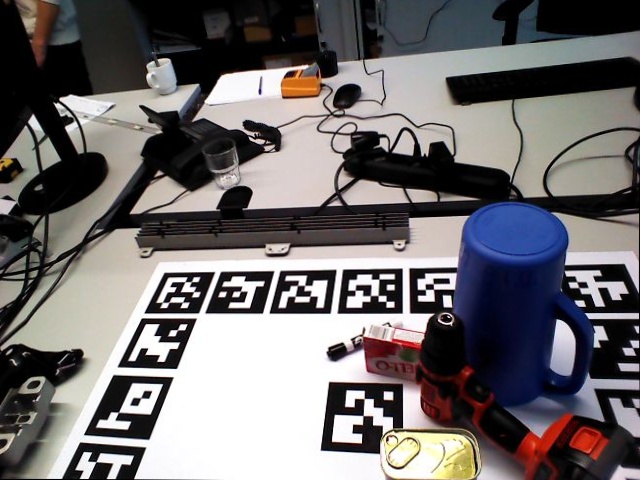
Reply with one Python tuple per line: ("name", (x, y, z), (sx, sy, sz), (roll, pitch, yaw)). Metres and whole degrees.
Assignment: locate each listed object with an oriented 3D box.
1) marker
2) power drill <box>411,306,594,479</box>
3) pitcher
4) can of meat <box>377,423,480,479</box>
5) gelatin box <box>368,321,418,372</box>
("marker", (0.070, 0.129, 0.755), (0.121, 0.020, 0.019), (-20, 41, -7))
("power drill", (0.184, 0.165, 0.559), (0.187, 0.185, 0.057), (30, 58, 32))
("pitcher", (0.242, 0.079, 0.610), (0.190, 0.243, 0.132), (19, 52, 41))
("can of meat", (0.116, 0.244, 0.556), (0.102, 0.084, 0.057), (-2, 39, 11))
("gelatin box", (0.112, 0.145, 0.688), (0.090, 0.073, 0.030), (7, 47, 19))
